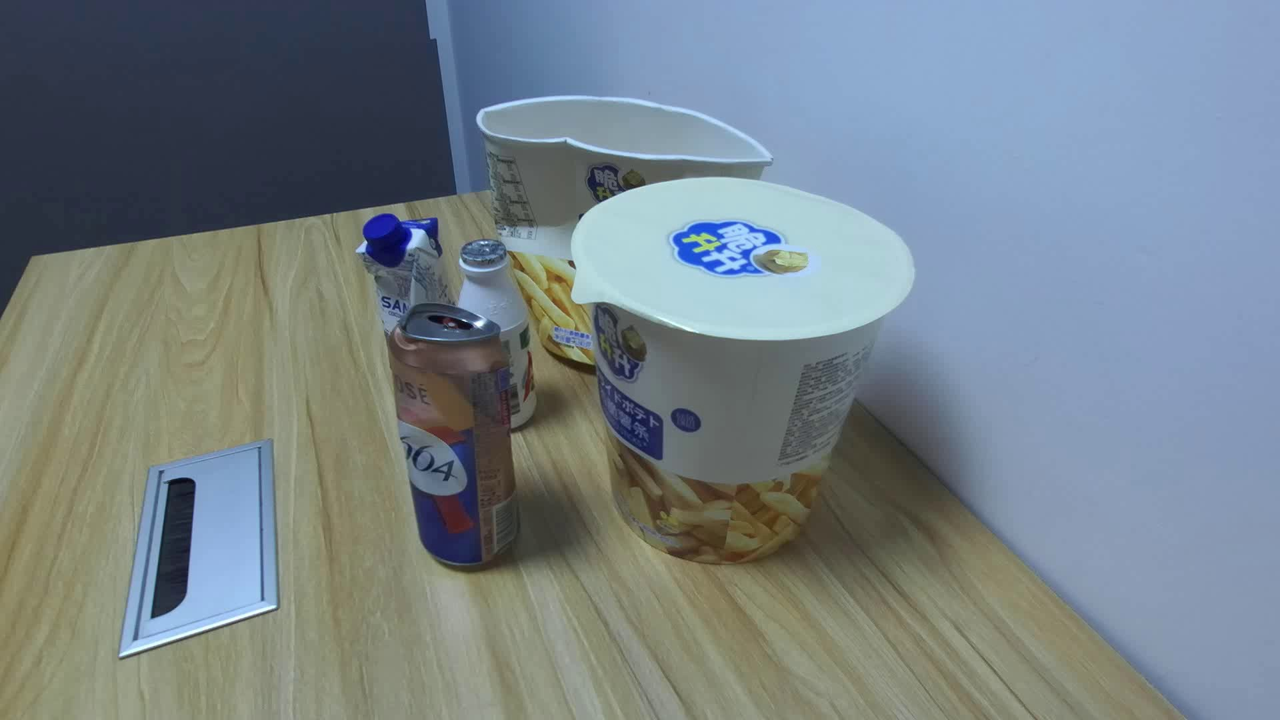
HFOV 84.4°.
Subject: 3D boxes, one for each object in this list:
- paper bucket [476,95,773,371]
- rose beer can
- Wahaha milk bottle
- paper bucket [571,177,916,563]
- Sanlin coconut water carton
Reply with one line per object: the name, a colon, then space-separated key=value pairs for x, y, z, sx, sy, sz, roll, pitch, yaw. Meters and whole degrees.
paper bucket: x=-0.018 y=-0.103 z=0.598 sx=0.218 sy=0.199 sz=0.147 roll=-4 pitch=35 yaw=-7
rose beer can: x=-0.110 y=0.048 z=0.426 sx=0.069 sy=0.168 sz=0.069 roll=-1 pitch=32 yaw=-8
Wahaha milk bottle: x=-0.108 y=-0.016 z=0.527 sx=0.053 sy=0.147 sz=0.053 roll=1 pitch=36 yaw=0
paper bucket: x=0.056 y=0.011 z=0.453 sx=0.198 sy=0.195 sz=0.198 roll=1 pitch=37 yaw=0
Sanlin coconut water carton: x=-0.187 y=-0.058 z=0.582 sx=0.060 sy=0.144 sz=0.070 roll=8 pitch=37 yaw=12
